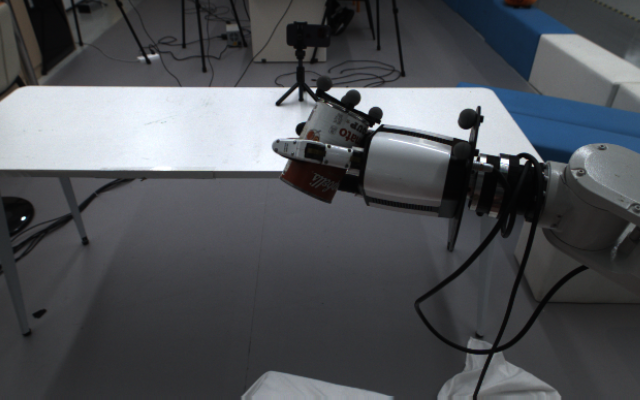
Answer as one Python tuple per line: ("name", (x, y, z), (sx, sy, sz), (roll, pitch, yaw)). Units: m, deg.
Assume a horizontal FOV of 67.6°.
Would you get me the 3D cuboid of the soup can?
("soup can", (0.007, -0.055, 0.554), (0.067, 0.101, 0.067), (26, 5, -3))
